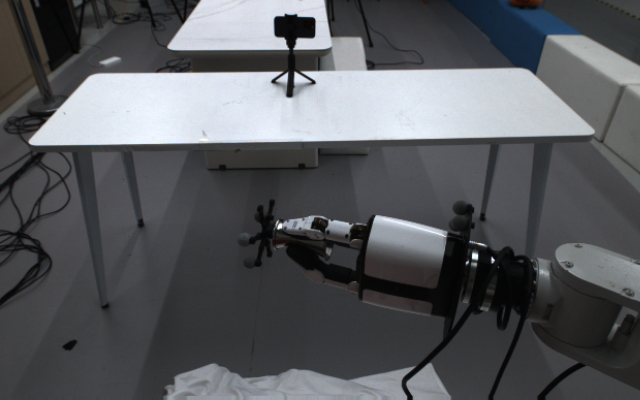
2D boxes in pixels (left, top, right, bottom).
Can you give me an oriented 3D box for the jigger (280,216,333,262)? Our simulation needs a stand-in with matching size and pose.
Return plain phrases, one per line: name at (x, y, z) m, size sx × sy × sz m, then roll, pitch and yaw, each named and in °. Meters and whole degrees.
jigger at (-0.013, 0.042, 0.594) m, size 0.071 × 0.043 × 0.043 m, roll 8°, pitch 35°, yaw 14°
